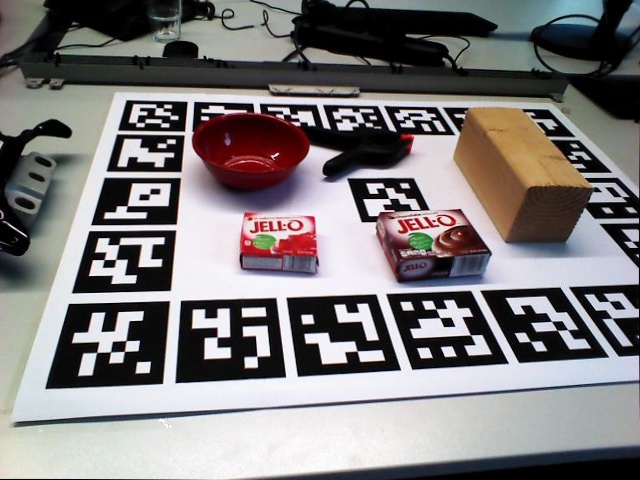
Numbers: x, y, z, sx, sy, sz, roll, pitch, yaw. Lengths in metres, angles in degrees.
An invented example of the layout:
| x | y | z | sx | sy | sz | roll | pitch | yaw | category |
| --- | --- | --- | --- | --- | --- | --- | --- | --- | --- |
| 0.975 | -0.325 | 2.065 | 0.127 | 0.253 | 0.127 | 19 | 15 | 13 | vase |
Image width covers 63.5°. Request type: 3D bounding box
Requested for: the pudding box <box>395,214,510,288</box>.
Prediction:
| x | y | z | sx | sy | sz | roll | pitch | yaw | category |
| --- | --- | --- | --- | --- | --- | --- | --- | --- | --- |
| 0.155 | 0.011 | 0.617 | 0.114 | 0.039 | 0.089 | -4 | 46 | -8 | pudding box |

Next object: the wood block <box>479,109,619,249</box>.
| x | y | z | sx | sy | sz | roll | pitch | yaw | category |
| --- | --- | --- | --- | --- | --- | --- | --- | --- | --- |
| 0.298 | -0.090 | 0.709 | 0.090 | 0.091 | 0.205 | 1 | 42 | -8 | wood block |

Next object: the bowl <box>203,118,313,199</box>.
| x | y | z | sx | sy | sz | roll | pitch | yaw | category |
| --- | --- | --- | --- | --- | --- | --- | --- | --- | --- |
| -0.079 | -0.106 | 0.719 | 0.162 | 0.055 | 0.160 | 4 | 44 | -4 | bowl |

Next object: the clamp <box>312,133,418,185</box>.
| x | y | z | sx | sy | sz | roll | pitch | yaw | category |
| --- | --- | --- | --- | --- | --- | --- | --- | --- | --- |
| 0.074 | -0.130 | 0.781 | 0.165 | 0.037 | 0.121 | -8 | 43 | -18 | clamp |

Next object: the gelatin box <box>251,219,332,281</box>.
| x | y | z | sx | sy | sz | roll | pitch | yaw | category |
| --- | --- | --- | --- | --- | --- | --- | --- | --- | --- |
| -0.032 | 0.010 | 0.600 | 0.089 | 0.030 | 0.073 | 4 | 43 | -3 | gelatin box |
